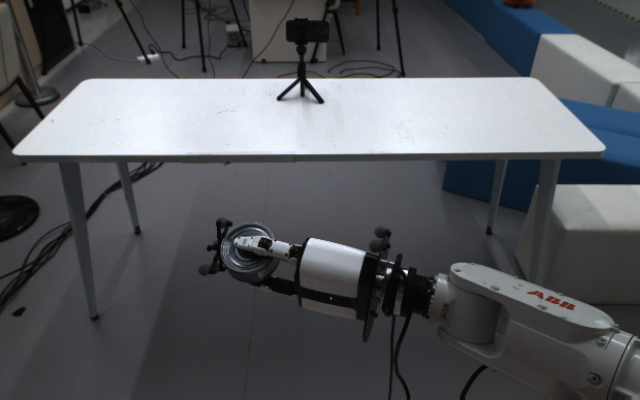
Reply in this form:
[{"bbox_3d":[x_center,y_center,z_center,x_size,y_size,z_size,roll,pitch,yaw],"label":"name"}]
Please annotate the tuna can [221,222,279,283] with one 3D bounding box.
[{"bbox_3d":[-0.101,0.076,0.714,0.085,0.034,0.085,-2,58,3],"label":"tuna can"}]
